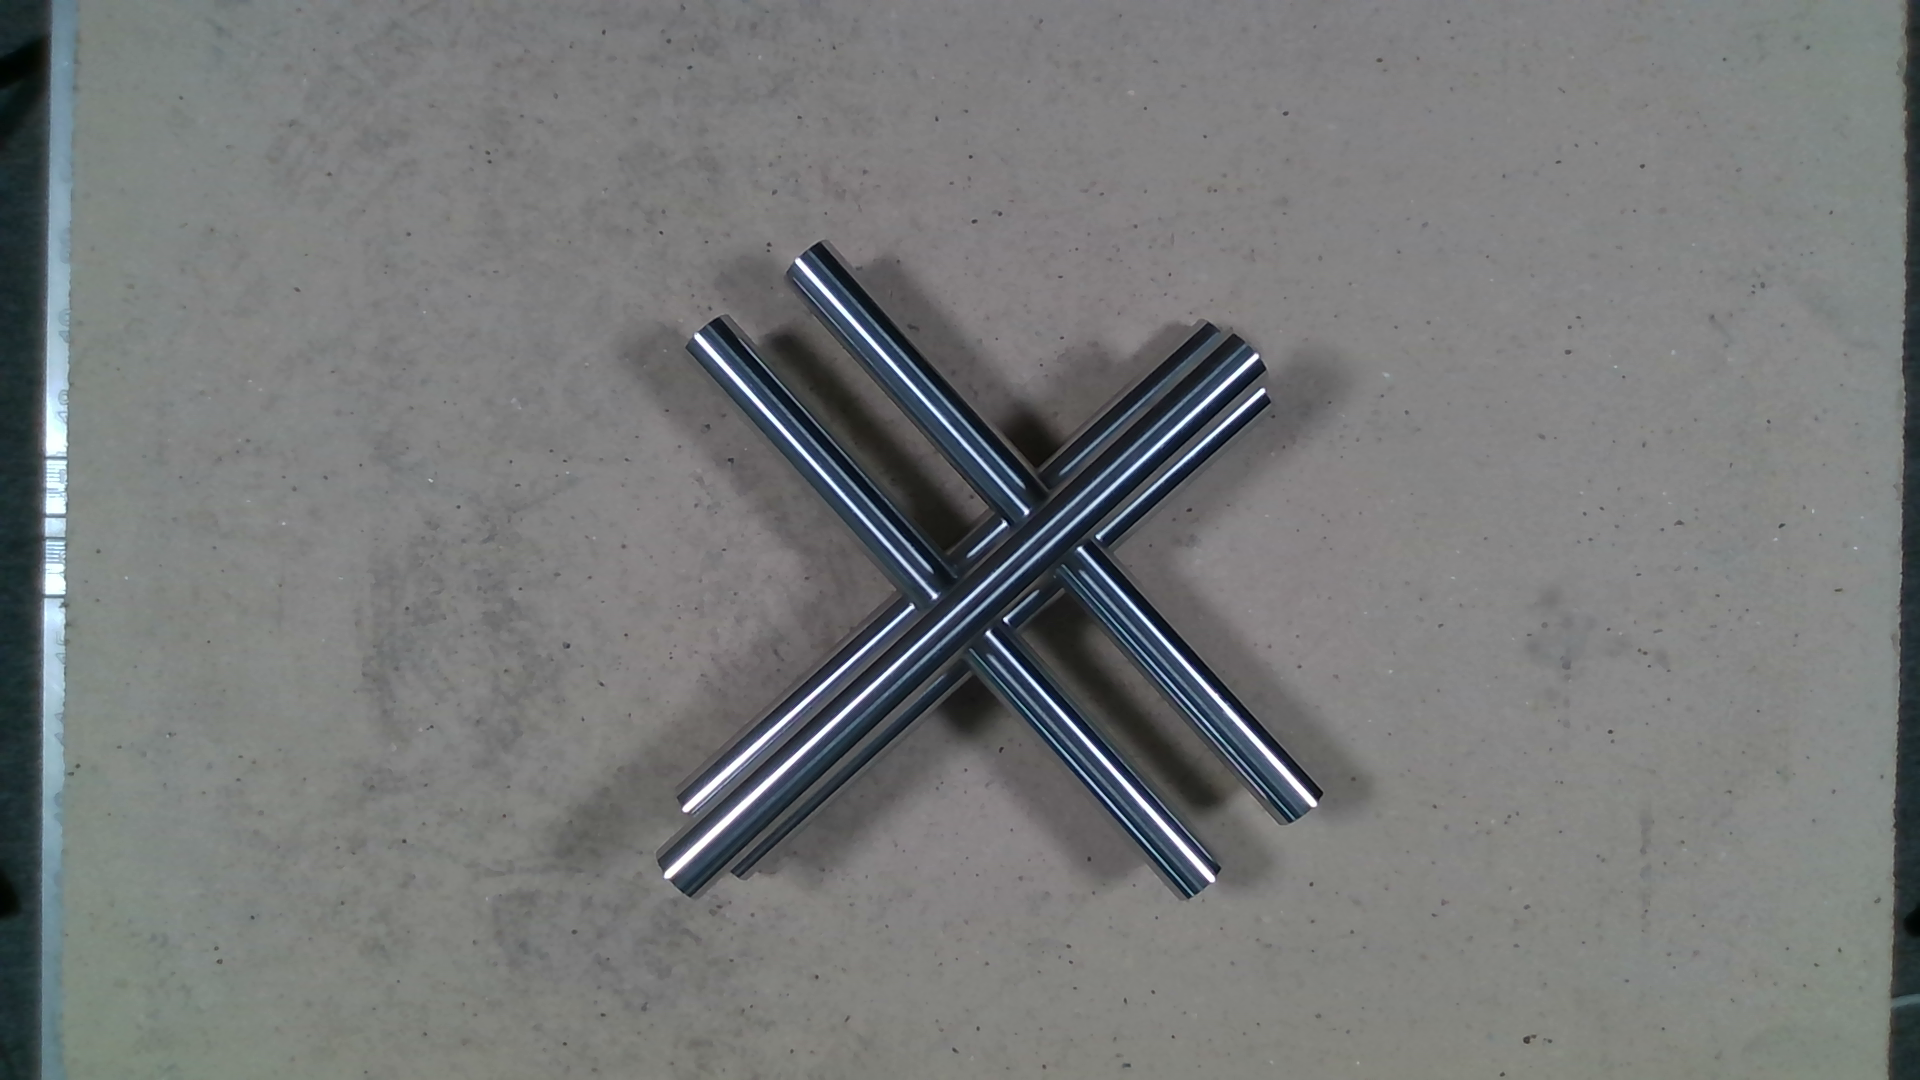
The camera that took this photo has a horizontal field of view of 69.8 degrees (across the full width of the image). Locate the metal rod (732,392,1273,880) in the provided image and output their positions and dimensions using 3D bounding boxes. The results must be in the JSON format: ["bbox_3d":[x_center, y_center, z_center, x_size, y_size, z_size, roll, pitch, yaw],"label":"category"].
[{"bbox_3d":[0.013,0.036,0.587,0.300,0.025,0.025,-42,90,0],"label":"metal rod"}]

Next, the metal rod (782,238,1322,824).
[{"bbox_3d":[0.038,-0.003,0.562,0.025,0.025,0.300,-42,90,0],"label":"metal rod"}]

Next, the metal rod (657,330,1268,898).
[{"bbox_3d":[0.001,0.029,0.537,0.300,0.025,0.025,-43,90,0],"label":"metal rod"}]

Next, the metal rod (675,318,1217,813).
[{"bbox_3d":[-0.001,0.015,0.587,0.300,0.025,0.025,-42,90,0],"label":"metal rod"}]

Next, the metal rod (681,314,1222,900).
[{"bbox_3d":[-0.003,0.027,0.562,0.025,0.025,0.300,-42,90,0],"label":"metal rod"}]
